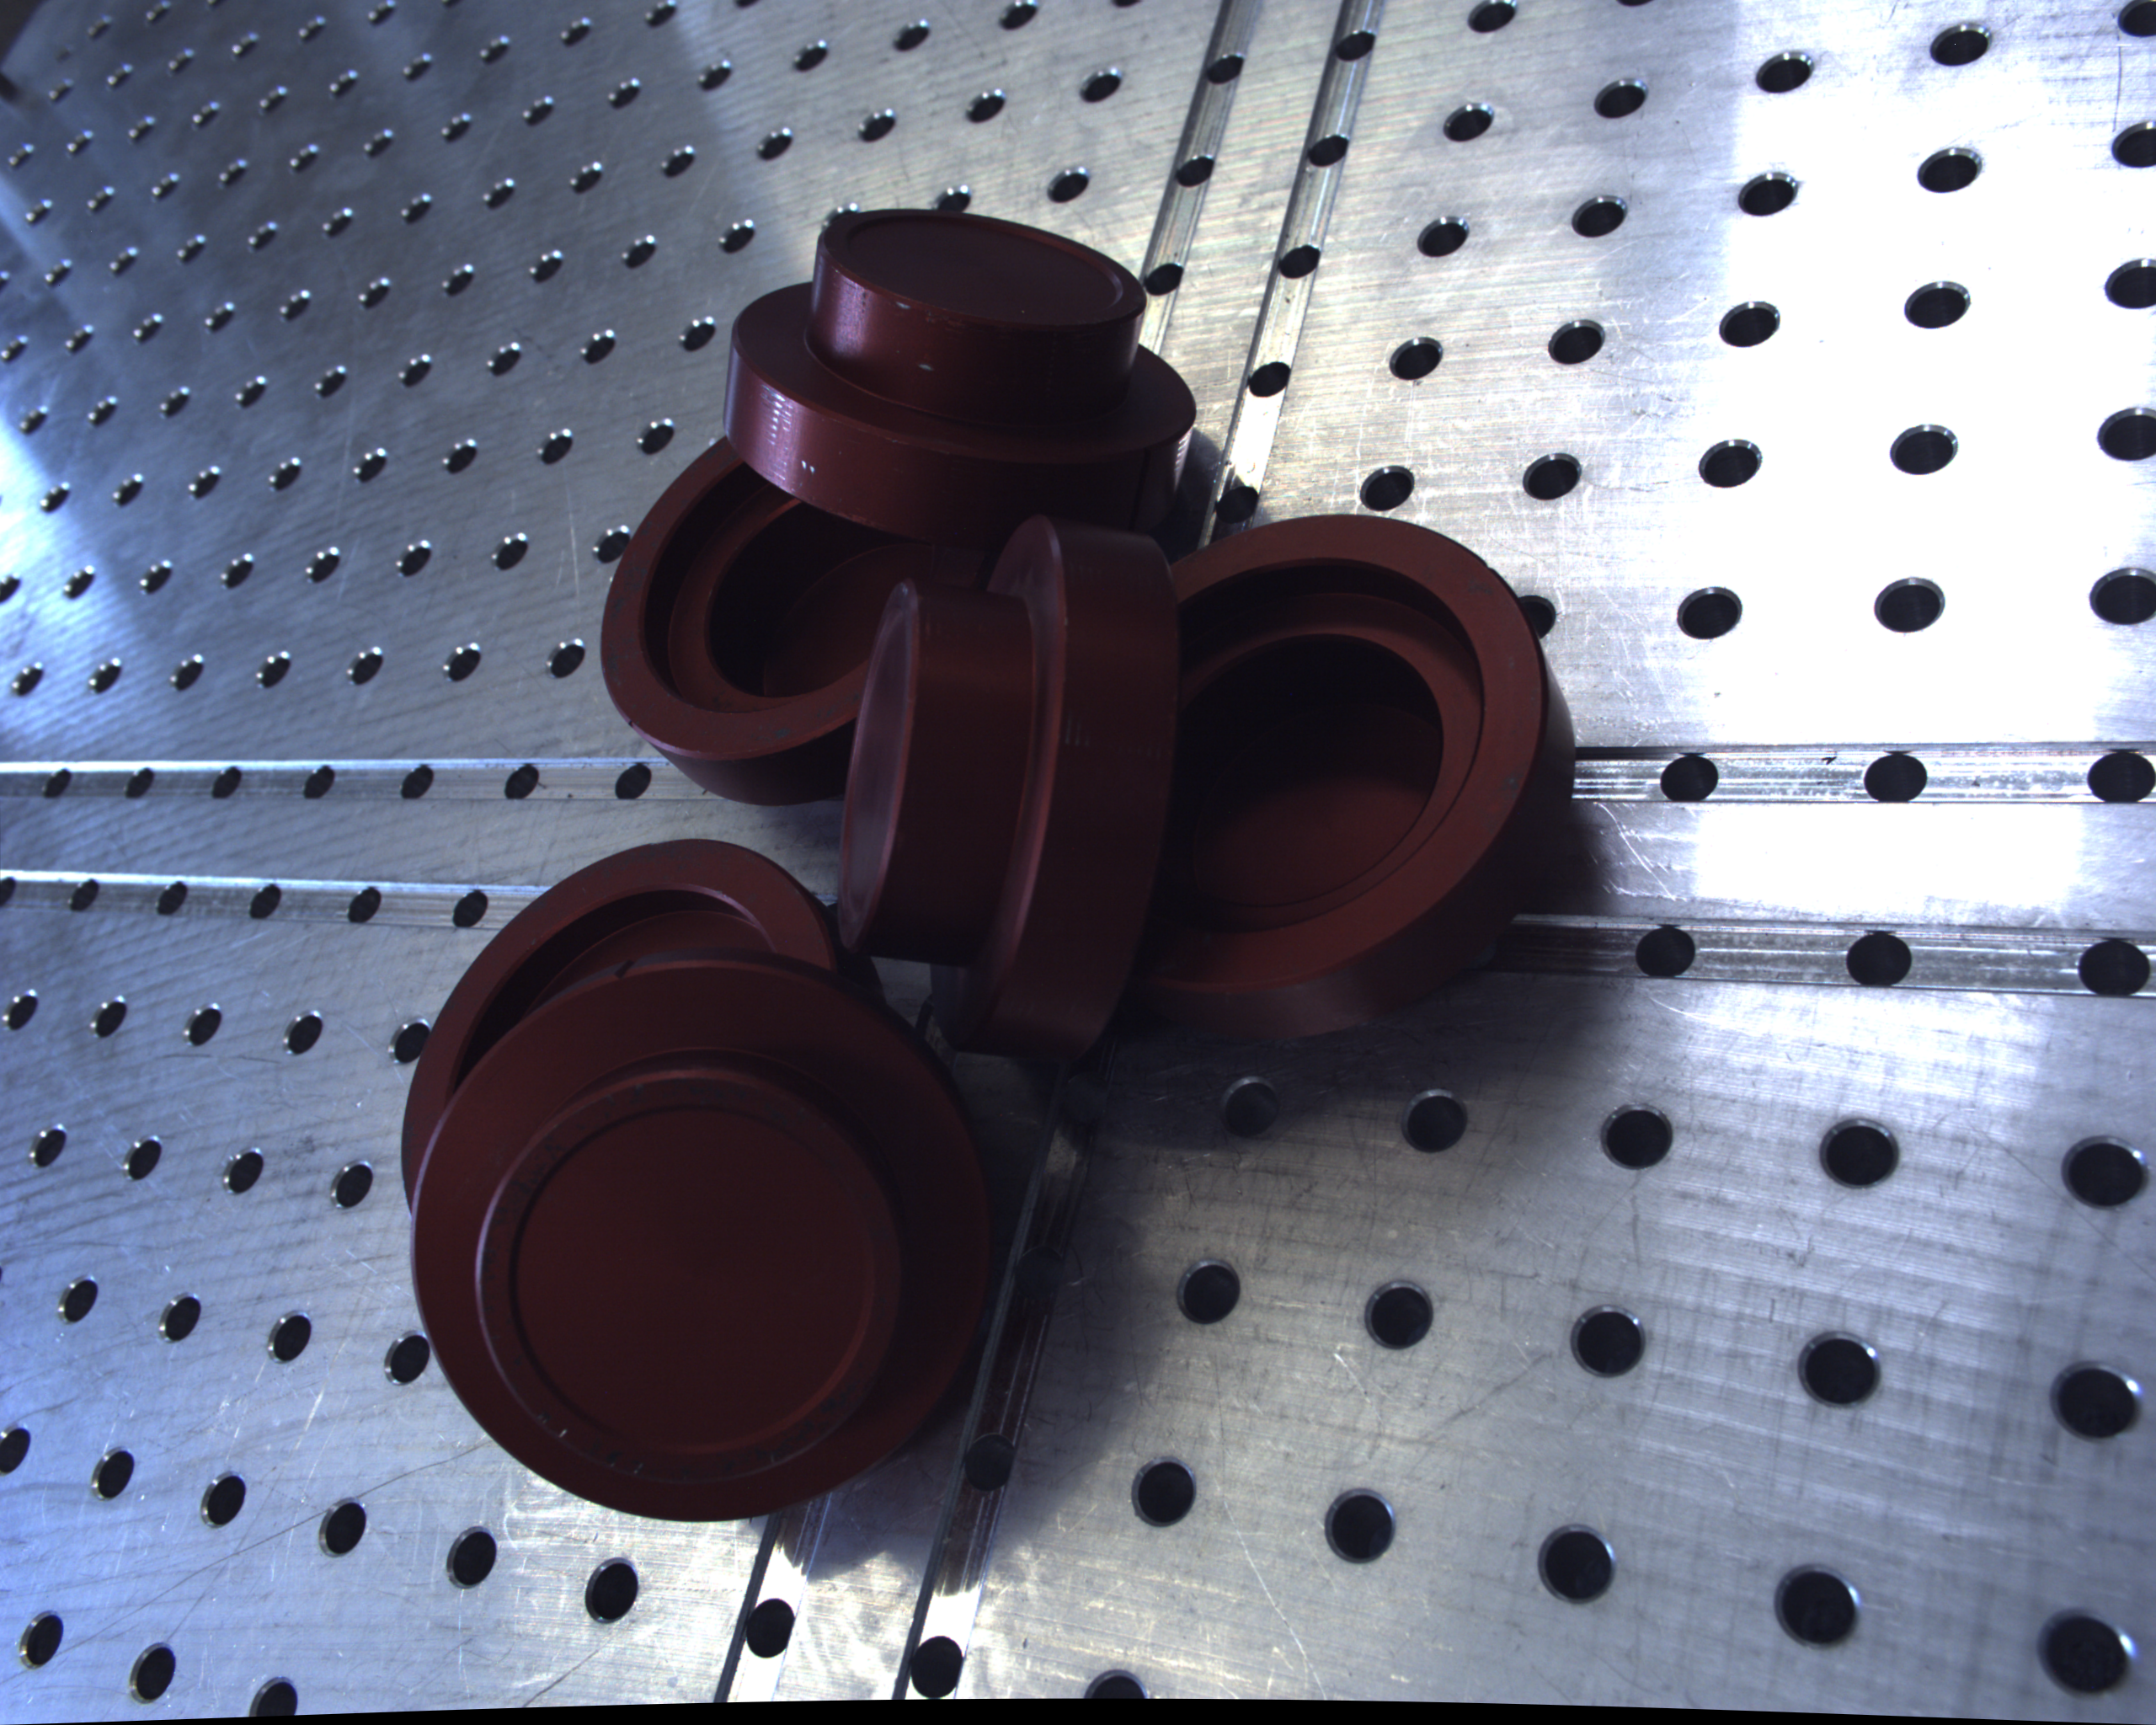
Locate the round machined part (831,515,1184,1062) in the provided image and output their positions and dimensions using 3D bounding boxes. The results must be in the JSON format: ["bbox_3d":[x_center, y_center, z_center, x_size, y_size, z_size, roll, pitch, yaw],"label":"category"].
[{"bbox_3d":[-0.017,-0.015,0.378,0.042,0.098,0.098,10,58,-14],"label":"round machined part"}]

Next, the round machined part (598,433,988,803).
[{"bbox_3d":[-0.052,-0.055,0.458,0.098,0.042,0.098,-13,56,21],"label":"round machined part"}]

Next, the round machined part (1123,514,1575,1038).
[{"bbox_3d":[0.042,-0.012,0.383,0.098,0.042,0.098,-13,56,21],"label":"round machined part"}]

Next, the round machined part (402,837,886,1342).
[{"bbox_3d":[-0.080,0.047,0.411,0.098,0.042,0.098,-13,56,21],"label":"round machined part"}]

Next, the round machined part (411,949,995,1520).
[{"bbox_3d":[-0.063,0.065,0.355,0.099,0.042,0.097,0,94,-5],"label":"round machined part"}]

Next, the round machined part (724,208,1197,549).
[{"bbox_3d":[-0.023,-0.106,0.440,0.099,0.042,0.098,10,32,-6],"label":"round machined part"}]
